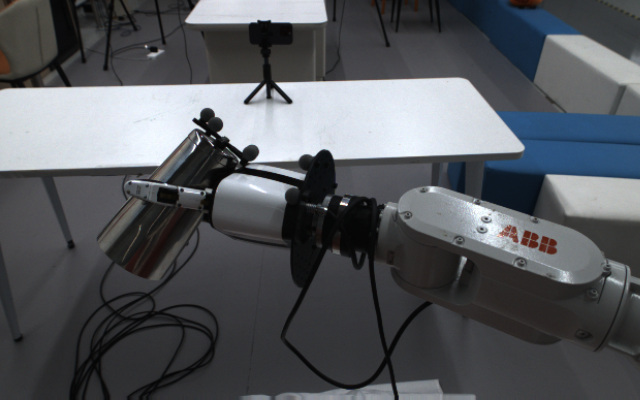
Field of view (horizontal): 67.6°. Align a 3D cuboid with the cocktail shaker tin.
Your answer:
[{"bbox_3d":[-0.174,-0.002,0.582,0.170,0.093,0.093,-50,46,4],"label":"cocktail shaker tin"}]
